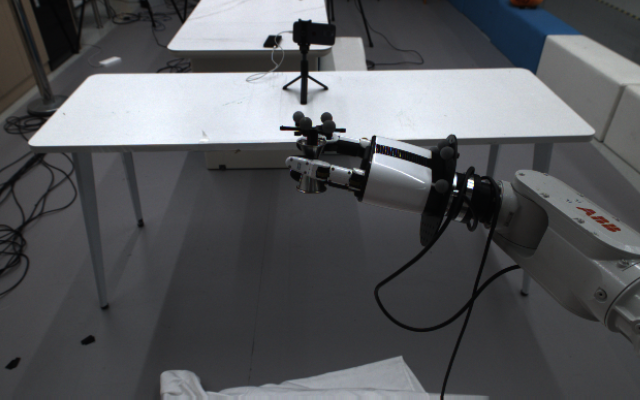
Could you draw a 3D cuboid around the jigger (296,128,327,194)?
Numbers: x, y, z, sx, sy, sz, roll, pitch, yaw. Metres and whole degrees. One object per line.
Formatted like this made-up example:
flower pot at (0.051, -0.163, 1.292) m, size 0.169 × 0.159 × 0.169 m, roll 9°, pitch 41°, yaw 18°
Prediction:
jigger at (-0.012, -0.049, 0.678) m, size 0.043 × 0.071 × 0.043 m, roll 1°, pitch 20°, yaw 0°
